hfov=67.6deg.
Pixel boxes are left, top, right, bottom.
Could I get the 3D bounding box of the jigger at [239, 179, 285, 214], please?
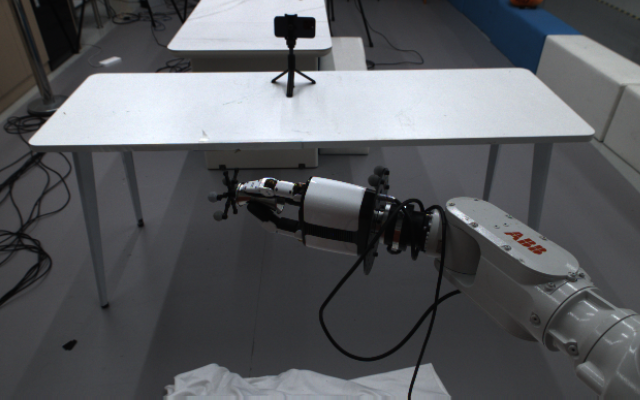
[{"bbox_3d":[-0.087,-0.009,0.755,0.071,0.043,0.043,8,35,14],"label":"jigger"}]
